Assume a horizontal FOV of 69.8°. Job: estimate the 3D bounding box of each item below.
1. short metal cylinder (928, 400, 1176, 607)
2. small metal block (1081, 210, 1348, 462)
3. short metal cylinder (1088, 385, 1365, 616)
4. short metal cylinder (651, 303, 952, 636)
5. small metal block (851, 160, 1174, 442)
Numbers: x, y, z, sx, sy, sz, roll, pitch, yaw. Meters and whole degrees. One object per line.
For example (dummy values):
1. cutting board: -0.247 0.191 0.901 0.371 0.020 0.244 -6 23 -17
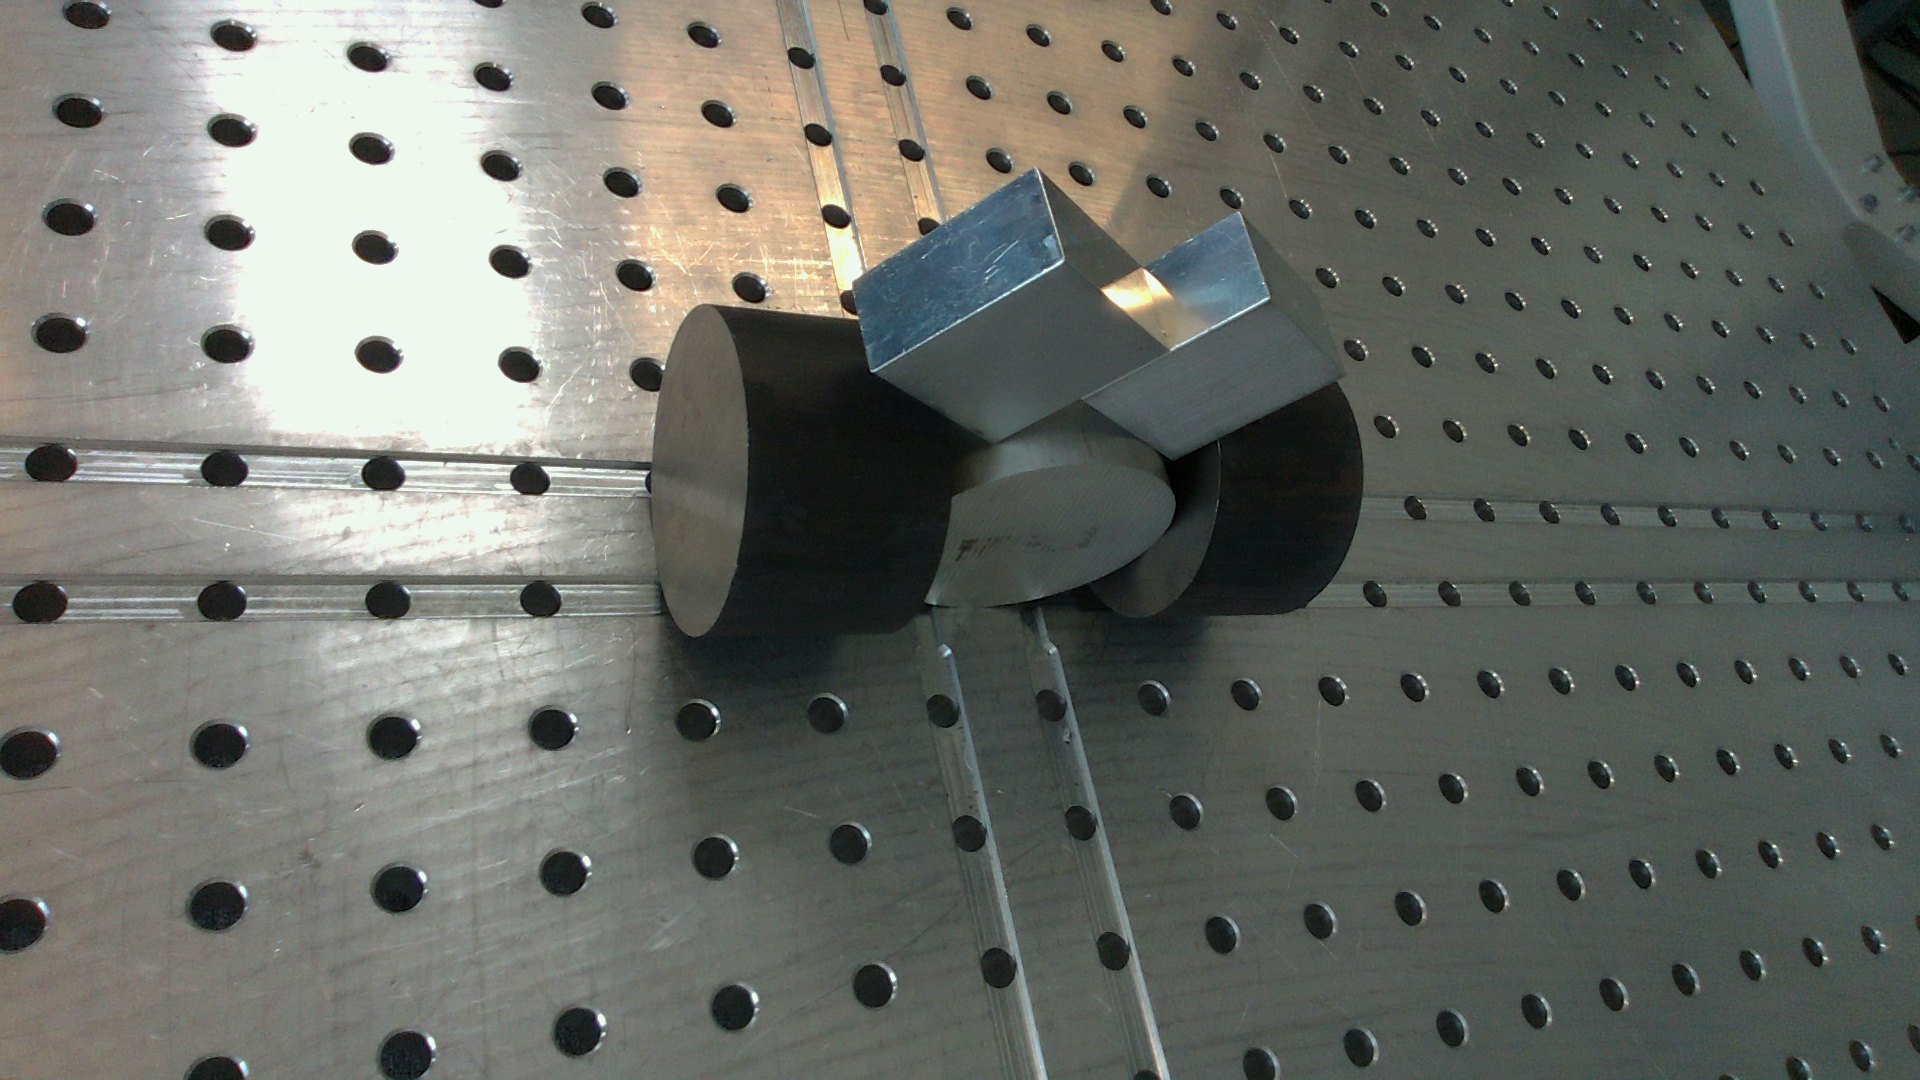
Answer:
1. short metal cylinder: 0.014 -0.022 0.378 0.080 0.080 0.050 1 61 -28
2. small metal block: 0.060 -0.048 0.340 0.050 0.050 0.025 25 45 -53
3. short metal cylinder: 0.072 -0.018 0.406 0.050 0.080 0.080 0 61 -27
4. short metal cylinder: -0.042 -0.016 0.344 0.050 0.080 0.080 1 61 -27
5. small metal block: 0.012 -0.051 0.310 0.050 0.050 0.025 26 44 -53
